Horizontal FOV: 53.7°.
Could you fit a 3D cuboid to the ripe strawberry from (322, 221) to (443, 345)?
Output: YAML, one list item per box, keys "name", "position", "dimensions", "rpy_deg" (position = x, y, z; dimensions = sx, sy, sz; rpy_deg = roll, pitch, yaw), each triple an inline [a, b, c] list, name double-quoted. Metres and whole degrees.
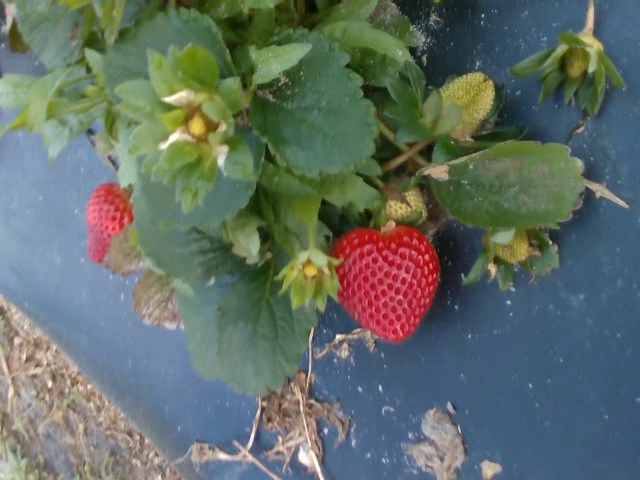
- name: "ripe strawberry"
  position: [0.023, 0.019, 0.243]
  dimensions: [0.046, 0.046, 0.043]
  rpy_deg: [1, -33, -27]

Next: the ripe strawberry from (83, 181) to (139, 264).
- name: "ripe strawberry"
  position: [-0.107, -0.008, 0.336]
  dimensions: [0.043, 0.051, 0.042]
  rpy_deg: [39, 21, 23]
